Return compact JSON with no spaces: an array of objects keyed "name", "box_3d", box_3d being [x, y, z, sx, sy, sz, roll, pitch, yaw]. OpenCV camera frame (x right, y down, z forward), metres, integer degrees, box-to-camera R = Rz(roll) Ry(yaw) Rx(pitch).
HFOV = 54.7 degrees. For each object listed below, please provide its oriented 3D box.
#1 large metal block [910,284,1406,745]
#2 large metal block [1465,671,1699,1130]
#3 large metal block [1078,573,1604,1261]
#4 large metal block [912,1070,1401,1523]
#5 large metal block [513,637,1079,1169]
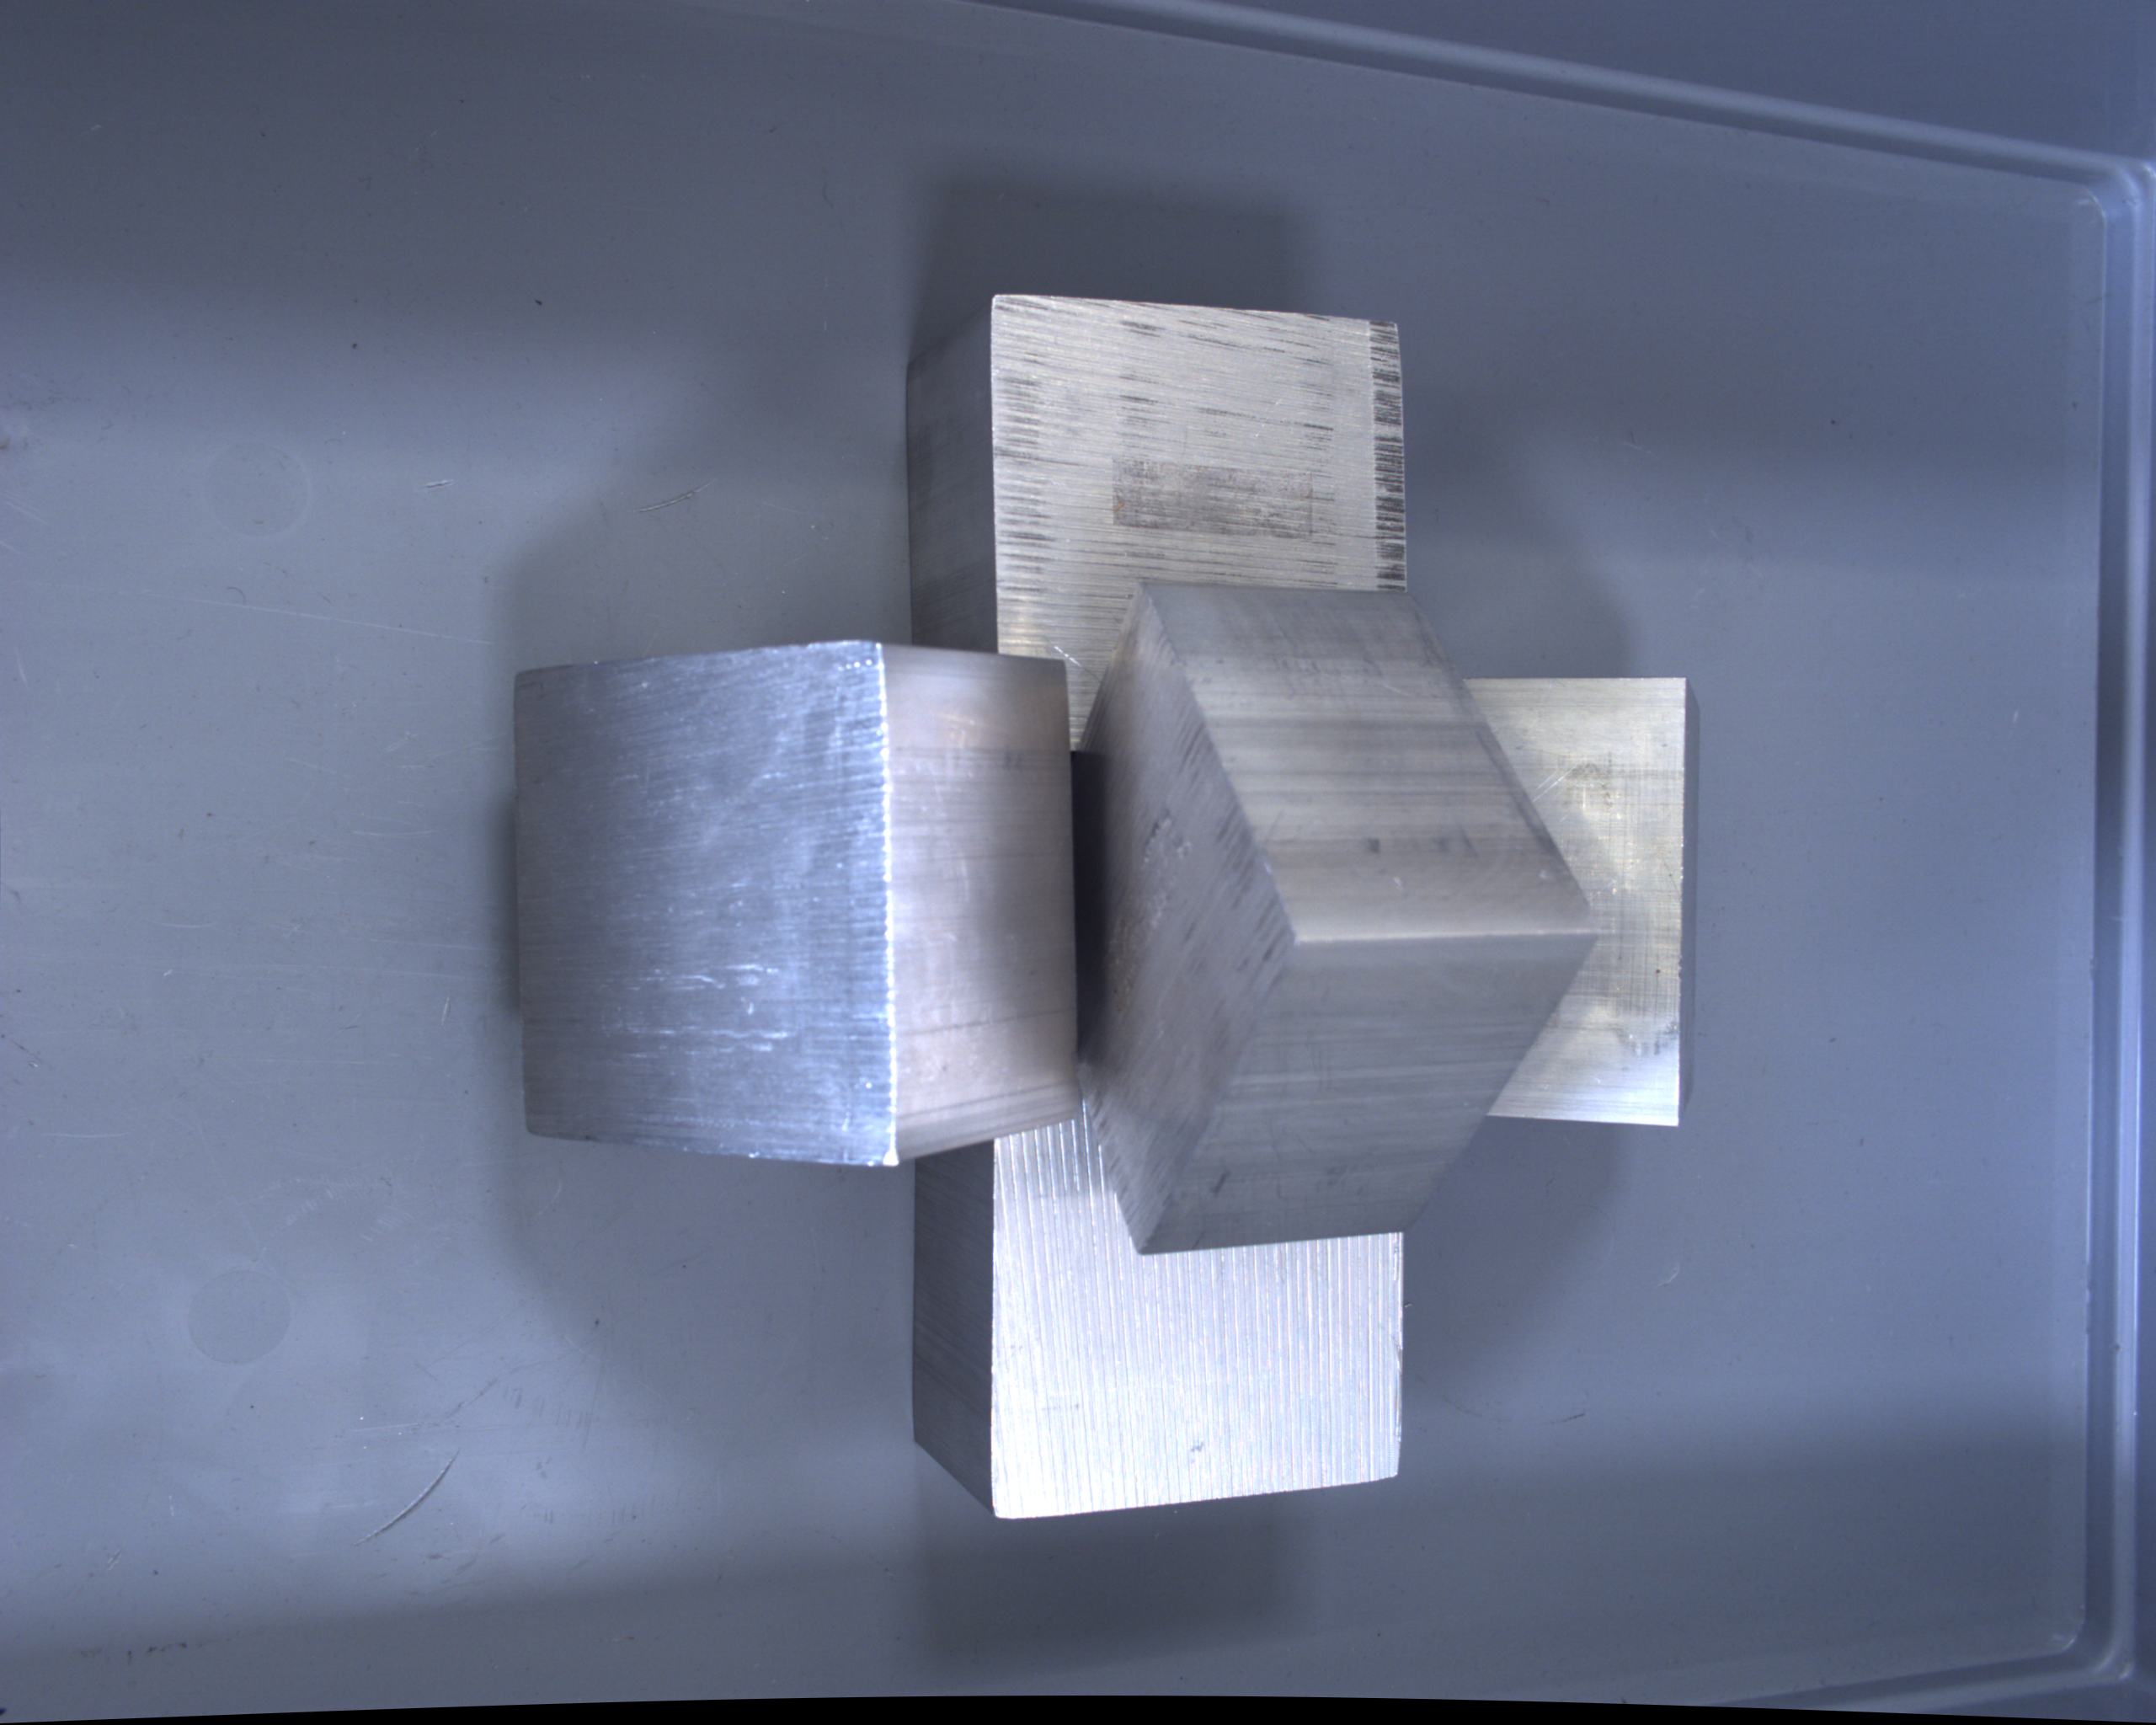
[{"name":"large metal block","box_3d":[0.015,-0.062,0.398,0.081,0.050,0.080,-2,91,-20]},{"name":"large metal block","box_3d":[0.093,0.006,0.407,0.050,0.080,0.080,1,90,19]},{"name":"large metal block","box_3d":[0.033,0.009,0.350,0.050,0.079,0.080,-1,47,-21]},{"name":"large metal block","box_3d":[0.014,0.076,0.401,0.081,0.050,0.080,1,90,-20]},{"name":"large metal block","box_3d":[-0.048,0.006,0.354,0.050,0.080,0.079,-3,92,-57]}]
